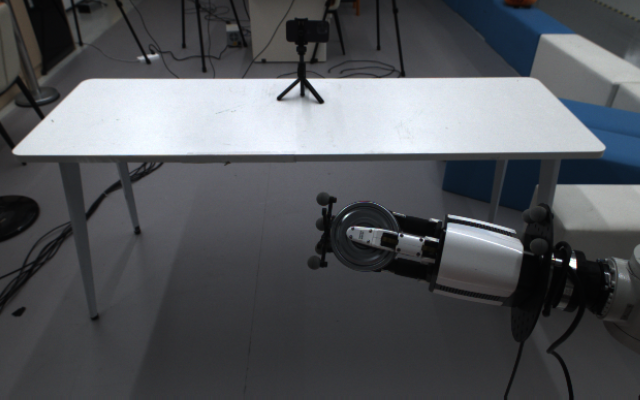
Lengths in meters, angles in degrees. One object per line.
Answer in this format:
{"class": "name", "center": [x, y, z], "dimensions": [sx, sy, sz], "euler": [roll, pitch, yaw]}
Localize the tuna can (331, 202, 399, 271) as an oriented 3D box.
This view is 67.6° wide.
{"class": "tuna can", "center": [0.059, 0.047, 0.587], "dimensions": [0.085, 0.085, 0.034], "euler": [9, -7, 10]}
